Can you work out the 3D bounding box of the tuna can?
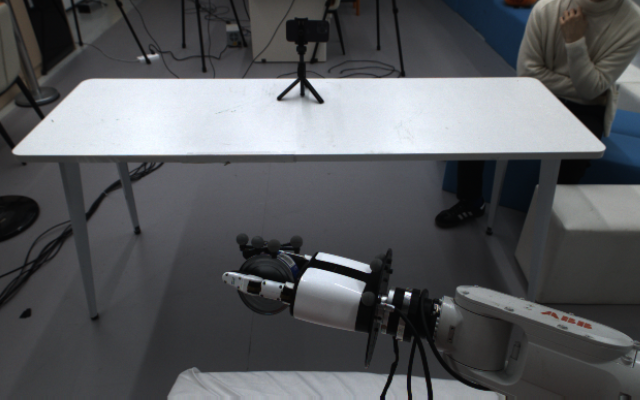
[{"bbox_3d":[-0.068,0.114,0.672,0.085,0.085,0.034,12,8,14],"label":"tuna can"}]
